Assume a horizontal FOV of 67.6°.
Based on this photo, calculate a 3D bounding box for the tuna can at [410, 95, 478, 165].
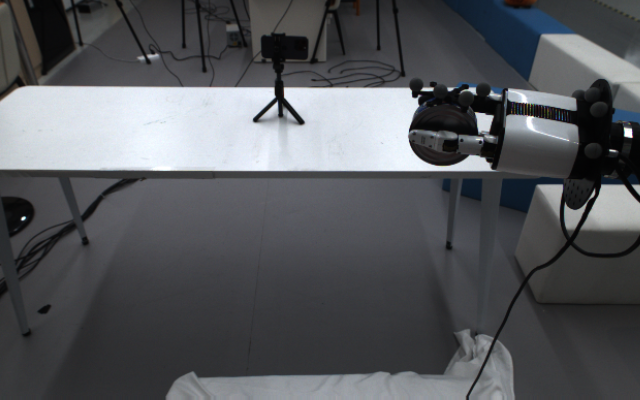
[{"bbox_3d":[0.160,-0.093,0.625,0.085,0.085,0.034,10,34,11],"label":"tuna can"}]
